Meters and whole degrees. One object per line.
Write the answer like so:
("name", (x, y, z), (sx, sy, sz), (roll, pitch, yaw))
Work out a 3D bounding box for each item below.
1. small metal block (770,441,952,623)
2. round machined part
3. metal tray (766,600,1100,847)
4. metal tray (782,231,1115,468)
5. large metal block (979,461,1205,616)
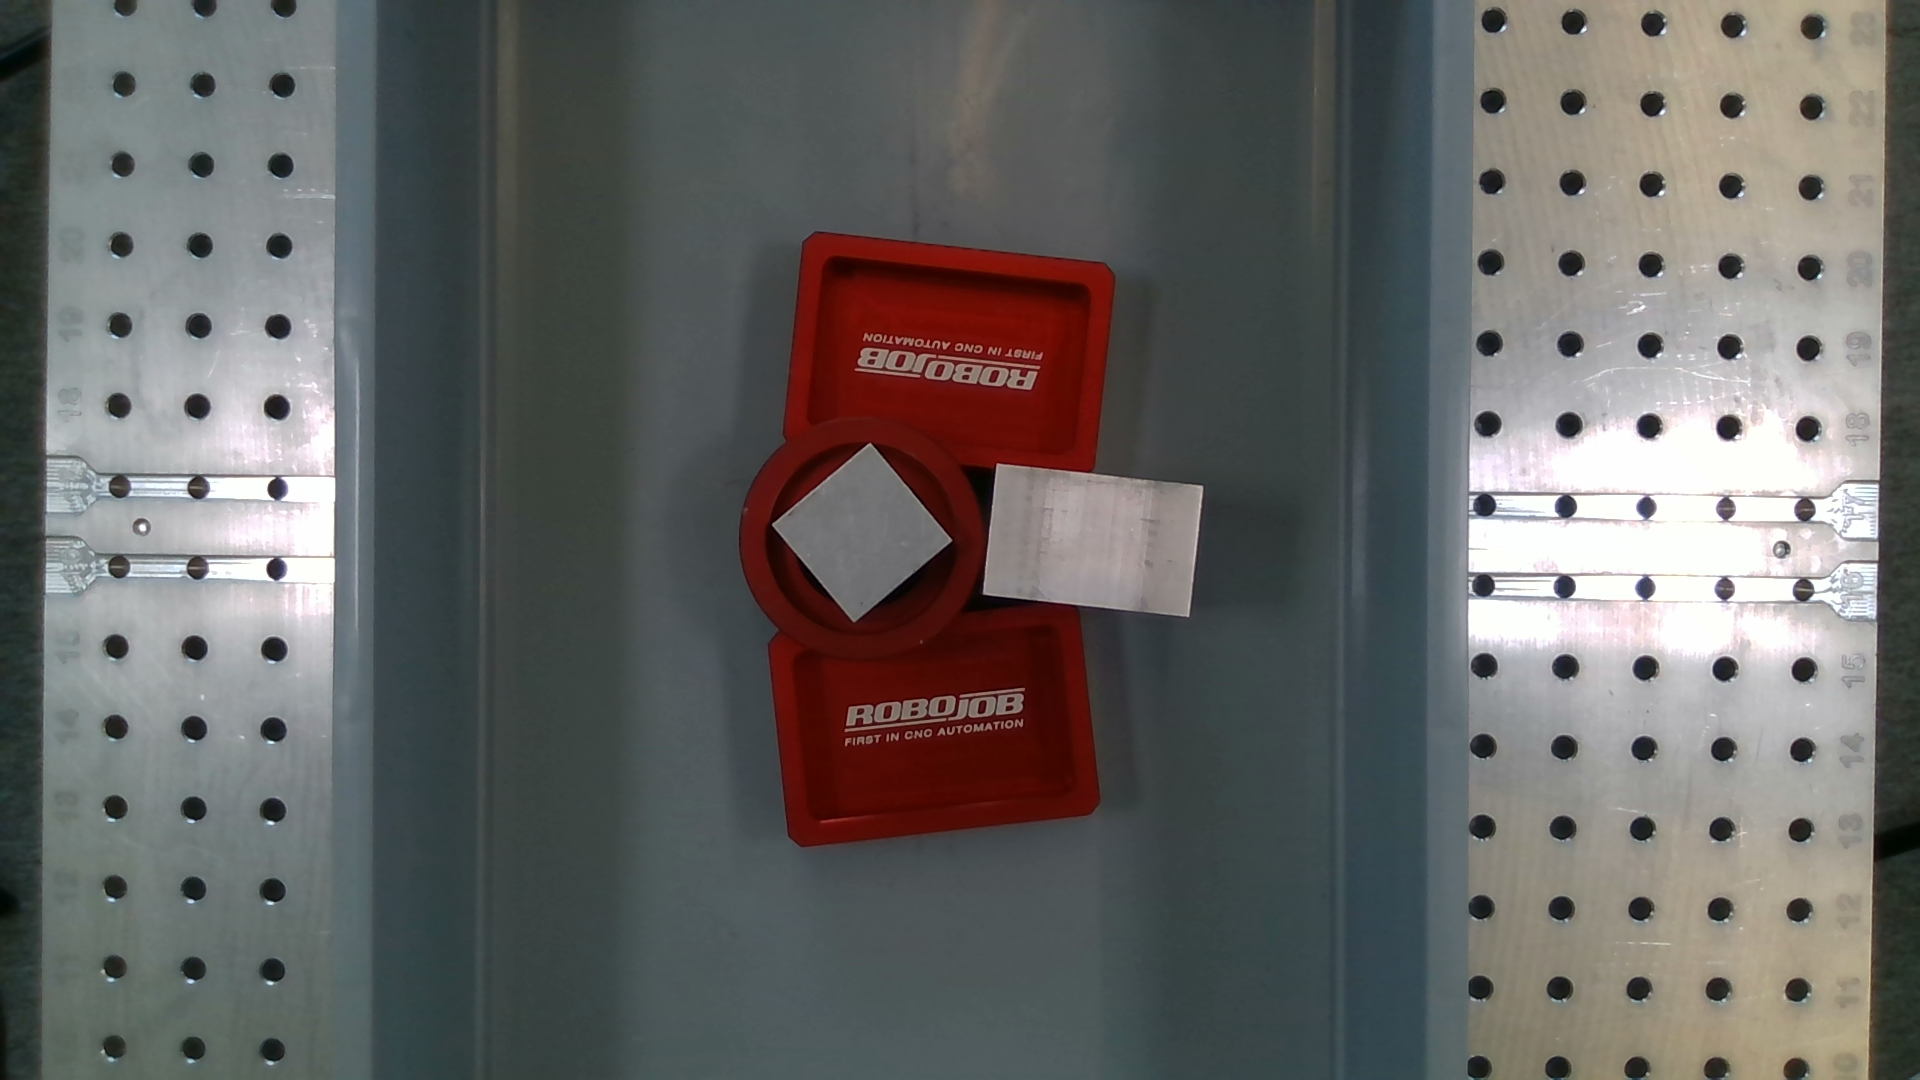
("small metal block", (-0.038, -0.003, 0.544), (0.050, 0.025, 0.050), (-39, 90, 0))
("round machined part", (-0.039, 0.000, 0.568), (0.098, 0.042, 0.098), (0, 91, 0))
("metal tray", (-0.011, 0.075, 0.584), (0.130, 0.030, 0.090), (-7, 91, 0))
("metal tray", (-0.005, -0.077, 0.582), (0.130, 0.030, 0.090), (6, 91, 0))
("large metal block", (0.050, -0.001, 0.559), (0.080, 0.080, 0.050), (6, 90, 0))
